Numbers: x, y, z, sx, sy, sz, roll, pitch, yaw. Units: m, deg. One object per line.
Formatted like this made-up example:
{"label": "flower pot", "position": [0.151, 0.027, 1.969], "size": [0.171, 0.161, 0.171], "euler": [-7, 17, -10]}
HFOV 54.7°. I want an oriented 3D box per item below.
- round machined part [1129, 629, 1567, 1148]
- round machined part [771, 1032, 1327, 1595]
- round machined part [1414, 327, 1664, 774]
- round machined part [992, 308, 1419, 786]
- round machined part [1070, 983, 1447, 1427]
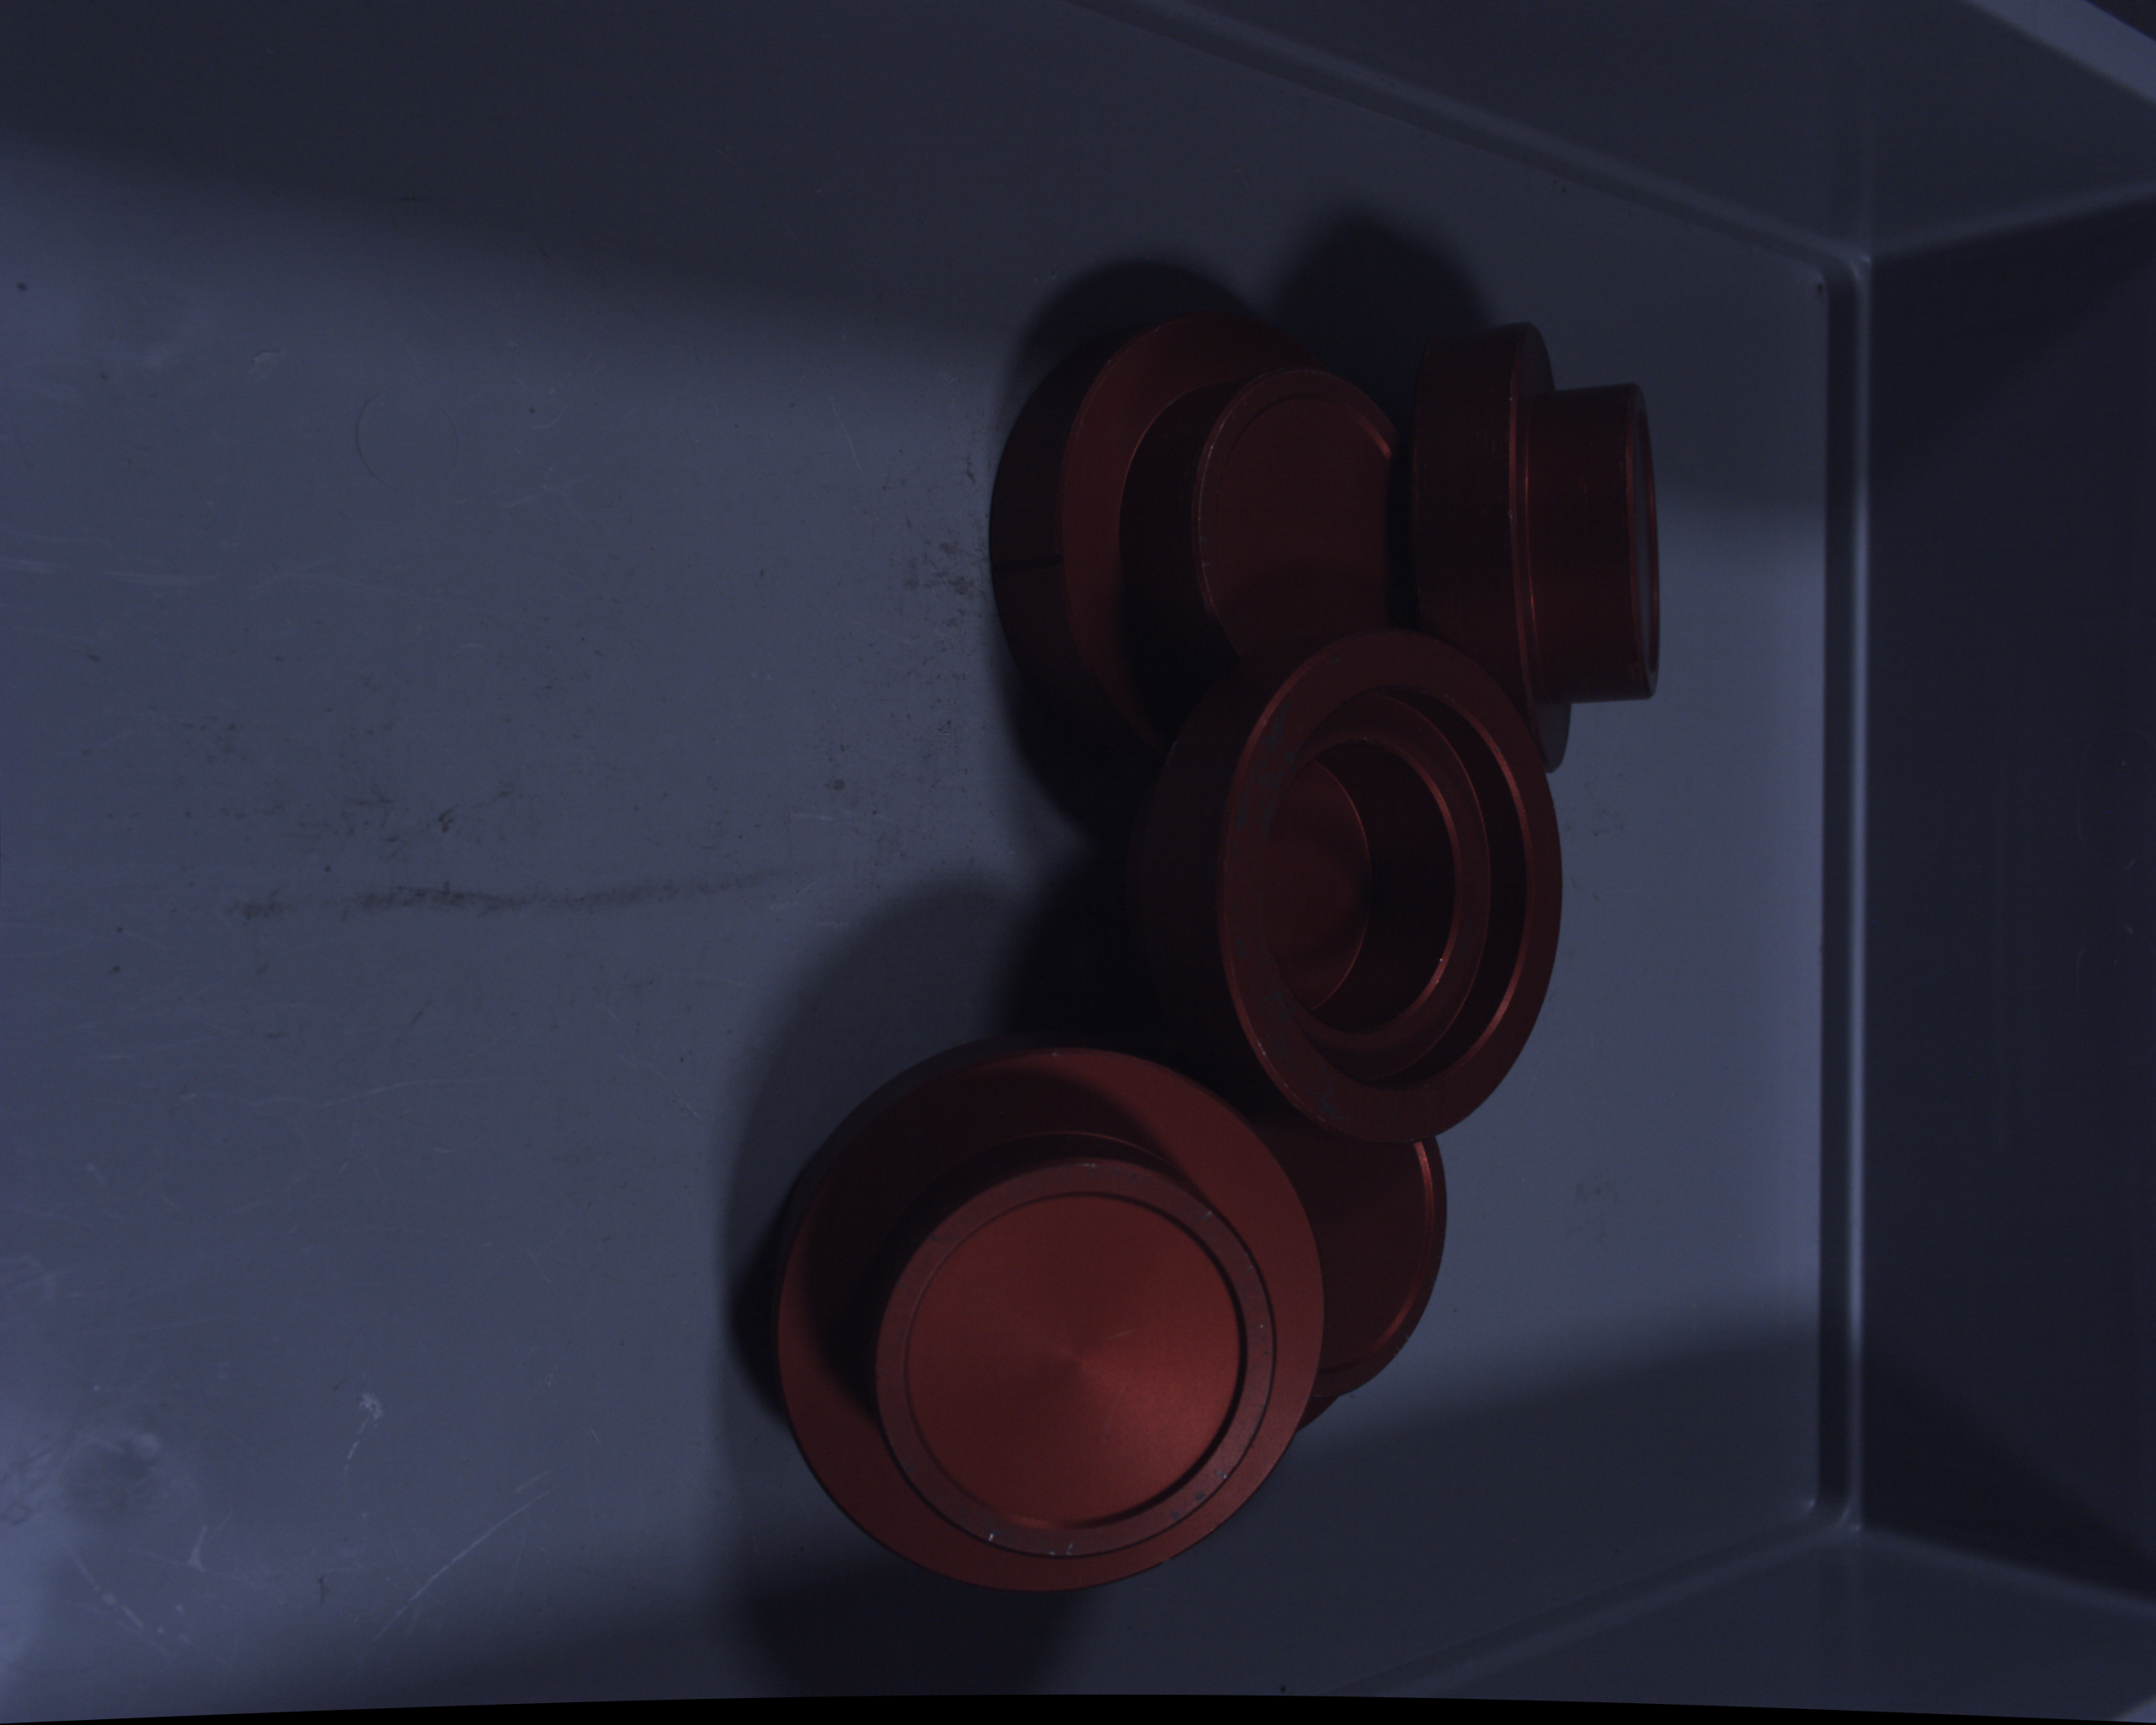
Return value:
{"label": "round machined part", "position": [0.049, 0.005, 0.408], "size": [0.099, 0.042, 0.097], "euler": [0, 90, -40]}
{"label": "round machined part", "position": [-0.004, 0.081, 0.365], "size": [0.099, 0.042, 0.097], "euler": [-1, 94, -11]}
{"label": "round machined part", "position": [0.103, -0.068, 0.455], "size": [0.098, 0.042, 0.097], "euler": [-3, 90, -71]}
{"label": "round machined part", "position": [0.034, -0.063, 0.423], "size": [0.099, 0.042, 0.097], "euler": [0, 90, -40]}
{"label": "round machined part", "position": [0.038, 0.072, 0.427], "size": [0.099, 0.042, 0.097], "euler": [0, 90, -40]}
